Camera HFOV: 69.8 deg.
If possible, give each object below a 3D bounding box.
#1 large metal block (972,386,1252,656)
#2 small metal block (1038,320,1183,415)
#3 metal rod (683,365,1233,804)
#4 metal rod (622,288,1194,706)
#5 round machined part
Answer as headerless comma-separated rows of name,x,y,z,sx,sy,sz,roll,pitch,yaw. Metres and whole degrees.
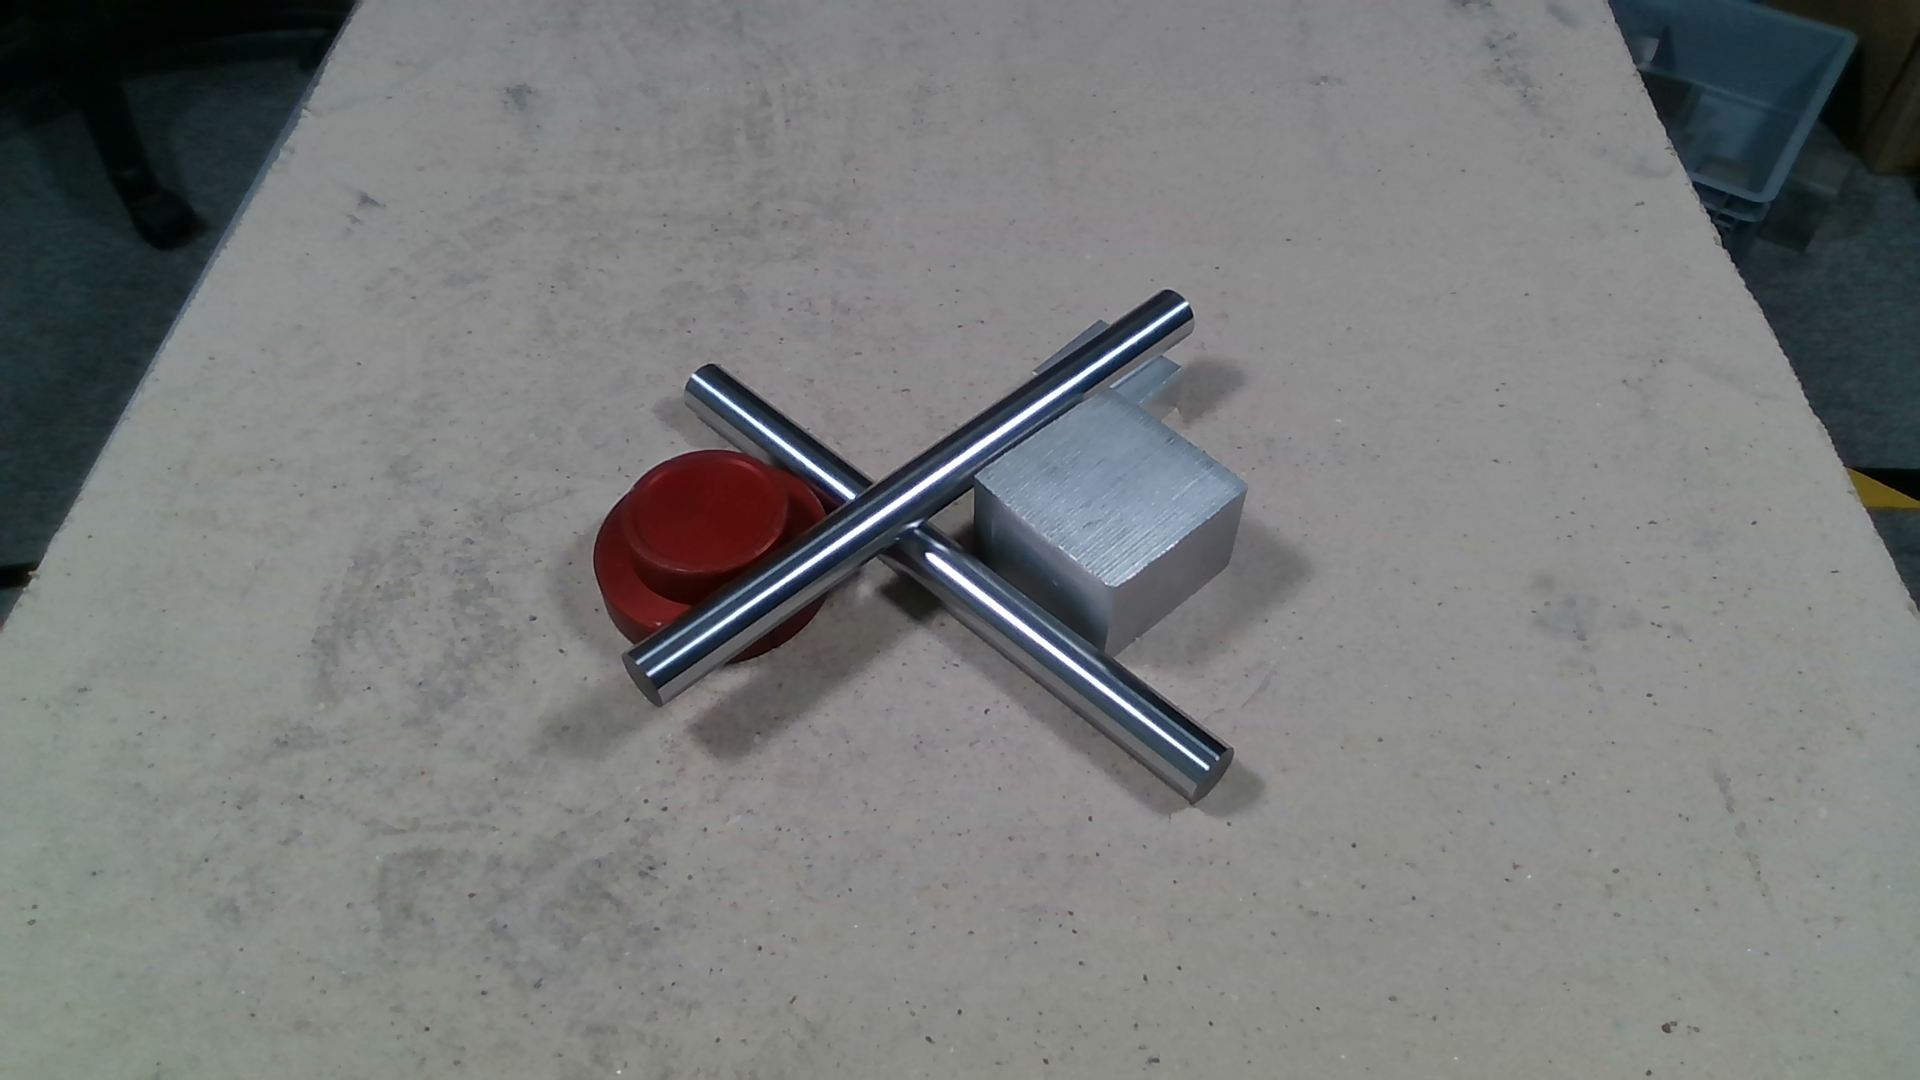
large metal block,0.062,-0.007,0.578,0.080,0.050,0.080,-35,58,-25
small metal block,0.068,-0.071,0.648,0.050,0.025,0.050,35,59,26
metal rod,-0.013,0.009,0.582,0.299,0.025,0.025,37,59,27
metal rod,-0.009,-0.027,0.577,0.300,0.025,0.025,-36,59,-26
round machined part,-0.104,0.000,0.575,0.098,0.042,0.098,0,50,0
